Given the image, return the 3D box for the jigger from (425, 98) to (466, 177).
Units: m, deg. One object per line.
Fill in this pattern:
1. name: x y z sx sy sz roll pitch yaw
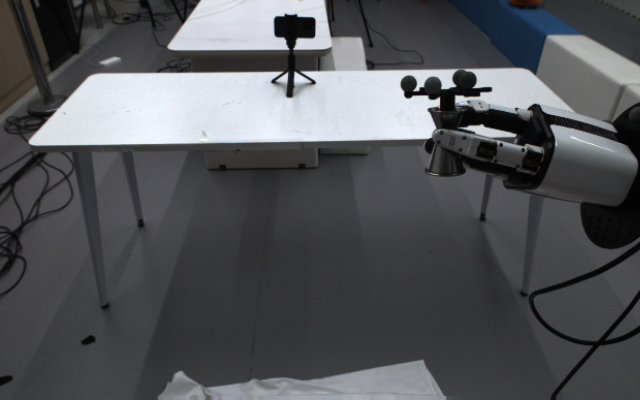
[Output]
1. jigger: 0.135 -0.063 0.518 0.043 0.071 0.043 -2 19 1
